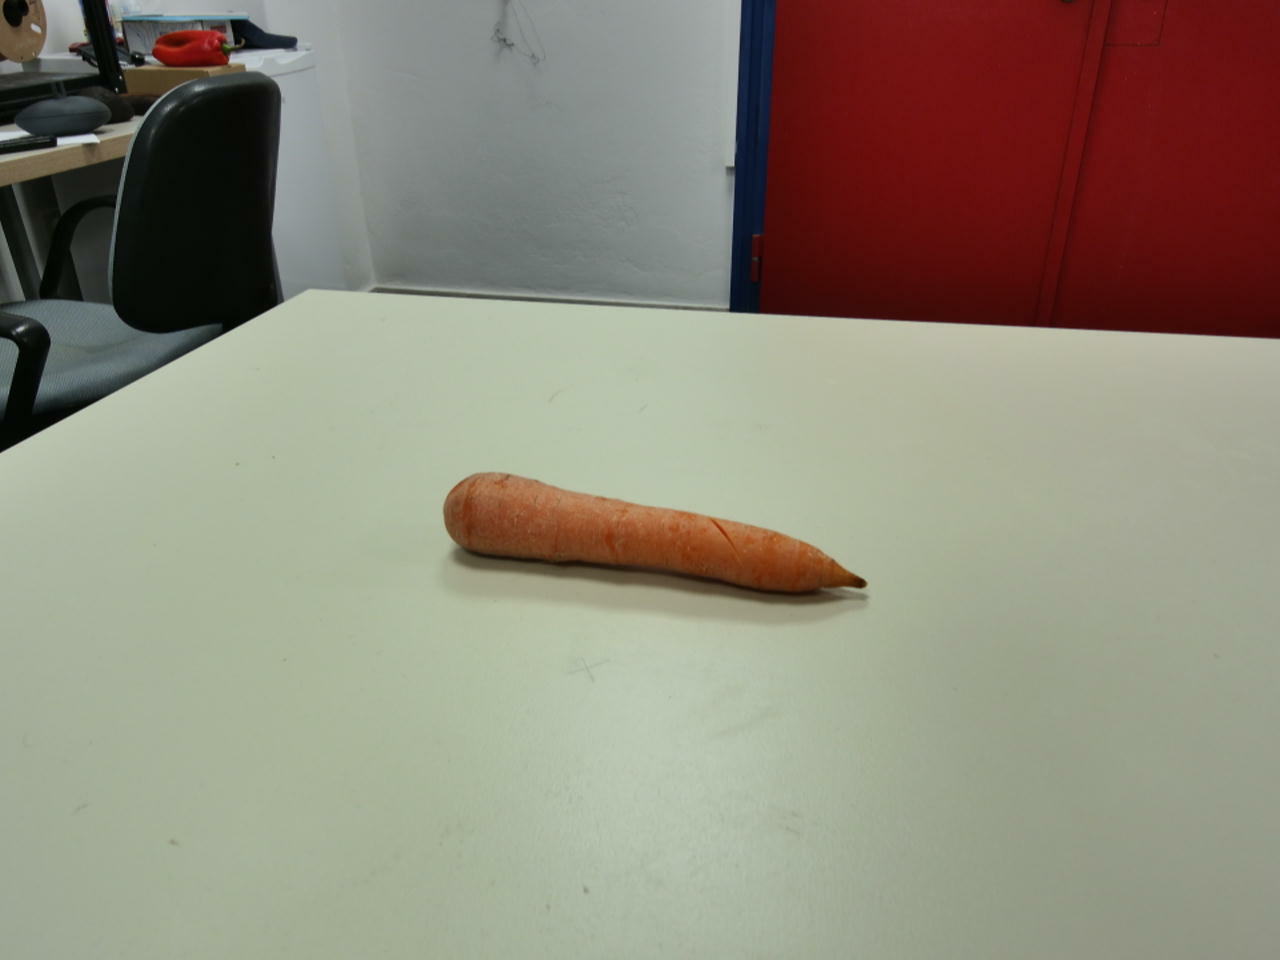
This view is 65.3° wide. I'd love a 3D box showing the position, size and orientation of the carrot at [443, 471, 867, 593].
[{"bbox_3d":[0.005,0.023,0.456,0.196,0.041,0.039,5,25,12],"label":"carrot"}]
